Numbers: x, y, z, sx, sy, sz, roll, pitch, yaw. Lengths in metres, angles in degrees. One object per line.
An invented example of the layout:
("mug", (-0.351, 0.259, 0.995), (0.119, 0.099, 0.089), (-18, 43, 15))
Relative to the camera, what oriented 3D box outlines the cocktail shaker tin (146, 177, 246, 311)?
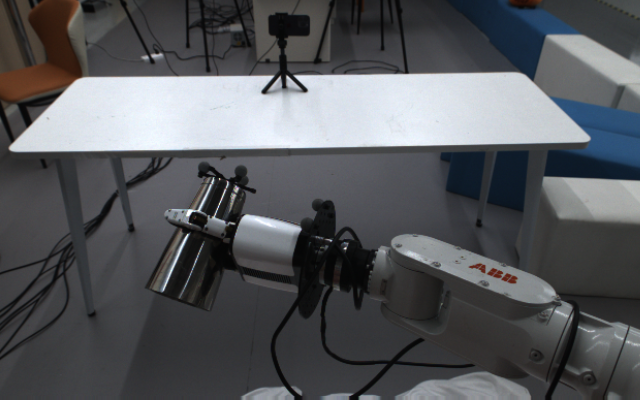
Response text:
("cocktail shaker tin", (-0.164, 0.058, 0.670), (0.093, 0.093, 0.170), (13, 70, 15))
